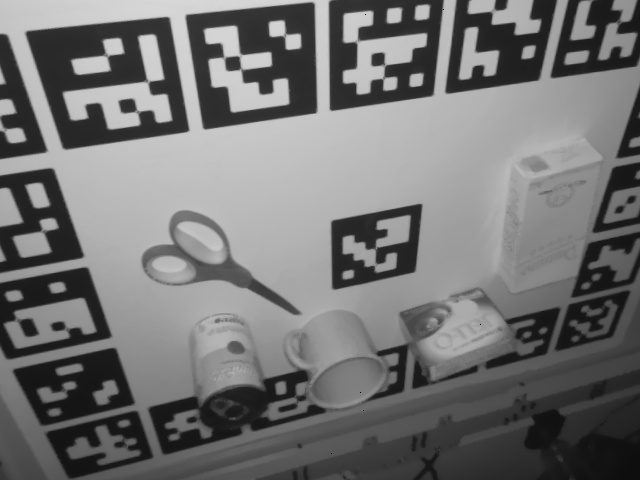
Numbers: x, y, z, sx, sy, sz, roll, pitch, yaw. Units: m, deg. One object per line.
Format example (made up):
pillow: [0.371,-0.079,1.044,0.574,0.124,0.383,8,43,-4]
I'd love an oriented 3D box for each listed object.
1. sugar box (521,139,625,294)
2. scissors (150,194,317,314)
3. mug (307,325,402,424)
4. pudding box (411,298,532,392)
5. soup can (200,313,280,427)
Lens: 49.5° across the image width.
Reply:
sugar box: [0.278,-0.019,0.778,0.093,0.045,0.175,-14,125,-11]
scissors: [-0.076,0.033,0.704,0.204,0.016,0.087,36,97,-33]
mug: [0.027,0.144,0.776,0.093,0.081,0.118,-41,128,9]
pudding box: [0.174,0.122,0.802,0.114,0.090,0.038,-18,121,-6]
soup can: [-0.086,0.134,0.727,0.068,0.102,0.067,-10,127,-12]
